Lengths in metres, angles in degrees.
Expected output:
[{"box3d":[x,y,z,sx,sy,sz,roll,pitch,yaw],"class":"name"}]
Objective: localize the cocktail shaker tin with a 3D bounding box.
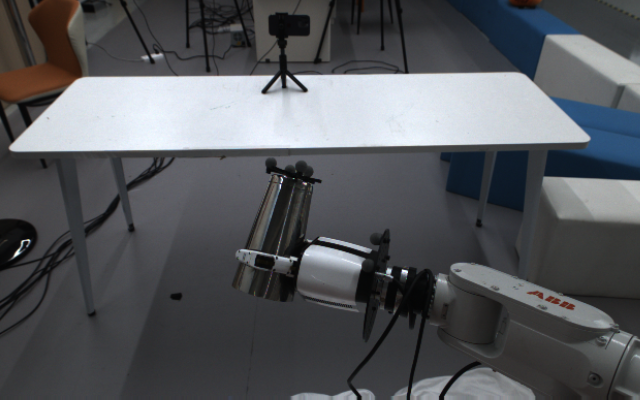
[{"box3d":[-0.063,0.054,0.709,0.093,0.170,0.093,15,-4,1],"class":"cocktail shaker tin"}]
